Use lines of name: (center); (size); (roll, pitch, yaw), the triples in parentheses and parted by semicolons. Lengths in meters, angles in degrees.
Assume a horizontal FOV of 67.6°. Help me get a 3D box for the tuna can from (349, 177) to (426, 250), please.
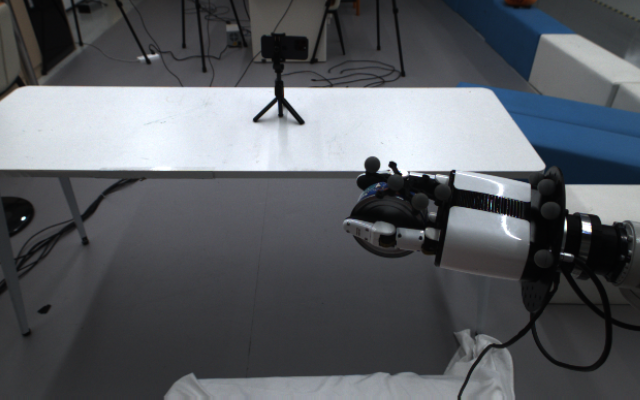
tuna can: (0.081, 0.021, 0.553); (0.085, 0.085, 0.034); (12, 33, 14)
